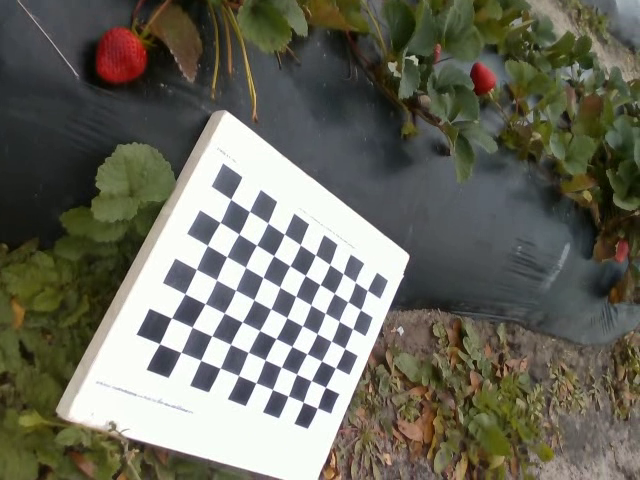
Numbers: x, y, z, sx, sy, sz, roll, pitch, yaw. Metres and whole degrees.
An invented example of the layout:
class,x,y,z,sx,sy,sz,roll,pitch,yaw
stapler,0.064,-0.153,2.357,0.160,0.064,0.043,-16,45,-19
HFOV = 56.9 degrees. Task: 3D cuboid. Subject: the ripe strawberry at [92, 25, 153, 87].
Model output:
class,x,y,z,sx,sy,sz,roll,pitch,yaw
ripe strawberry,-0.101,-0.091,0.290,0.023,0.033,0.029,3,-39,51
